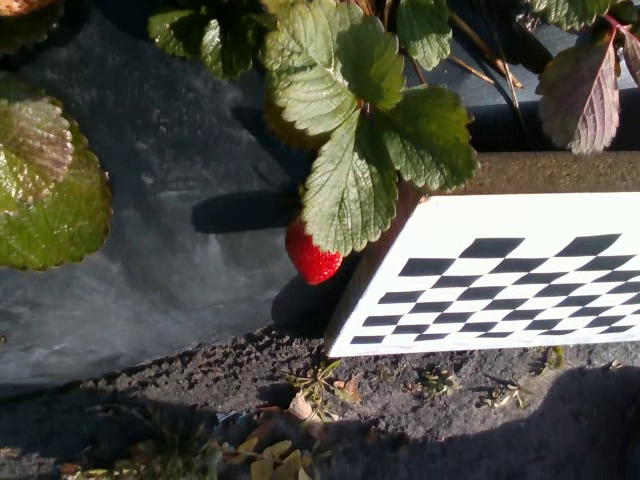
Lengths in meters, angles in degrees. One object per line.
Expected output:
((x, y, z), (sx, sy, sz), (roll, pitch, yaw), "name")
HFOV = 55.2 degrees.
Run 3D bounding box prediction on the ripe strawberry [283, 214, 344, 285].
((-0.001, 0.003, 0.246), (0.034, 0.038, 0.033), (-1, 15, -7), "ripe strawberry")
